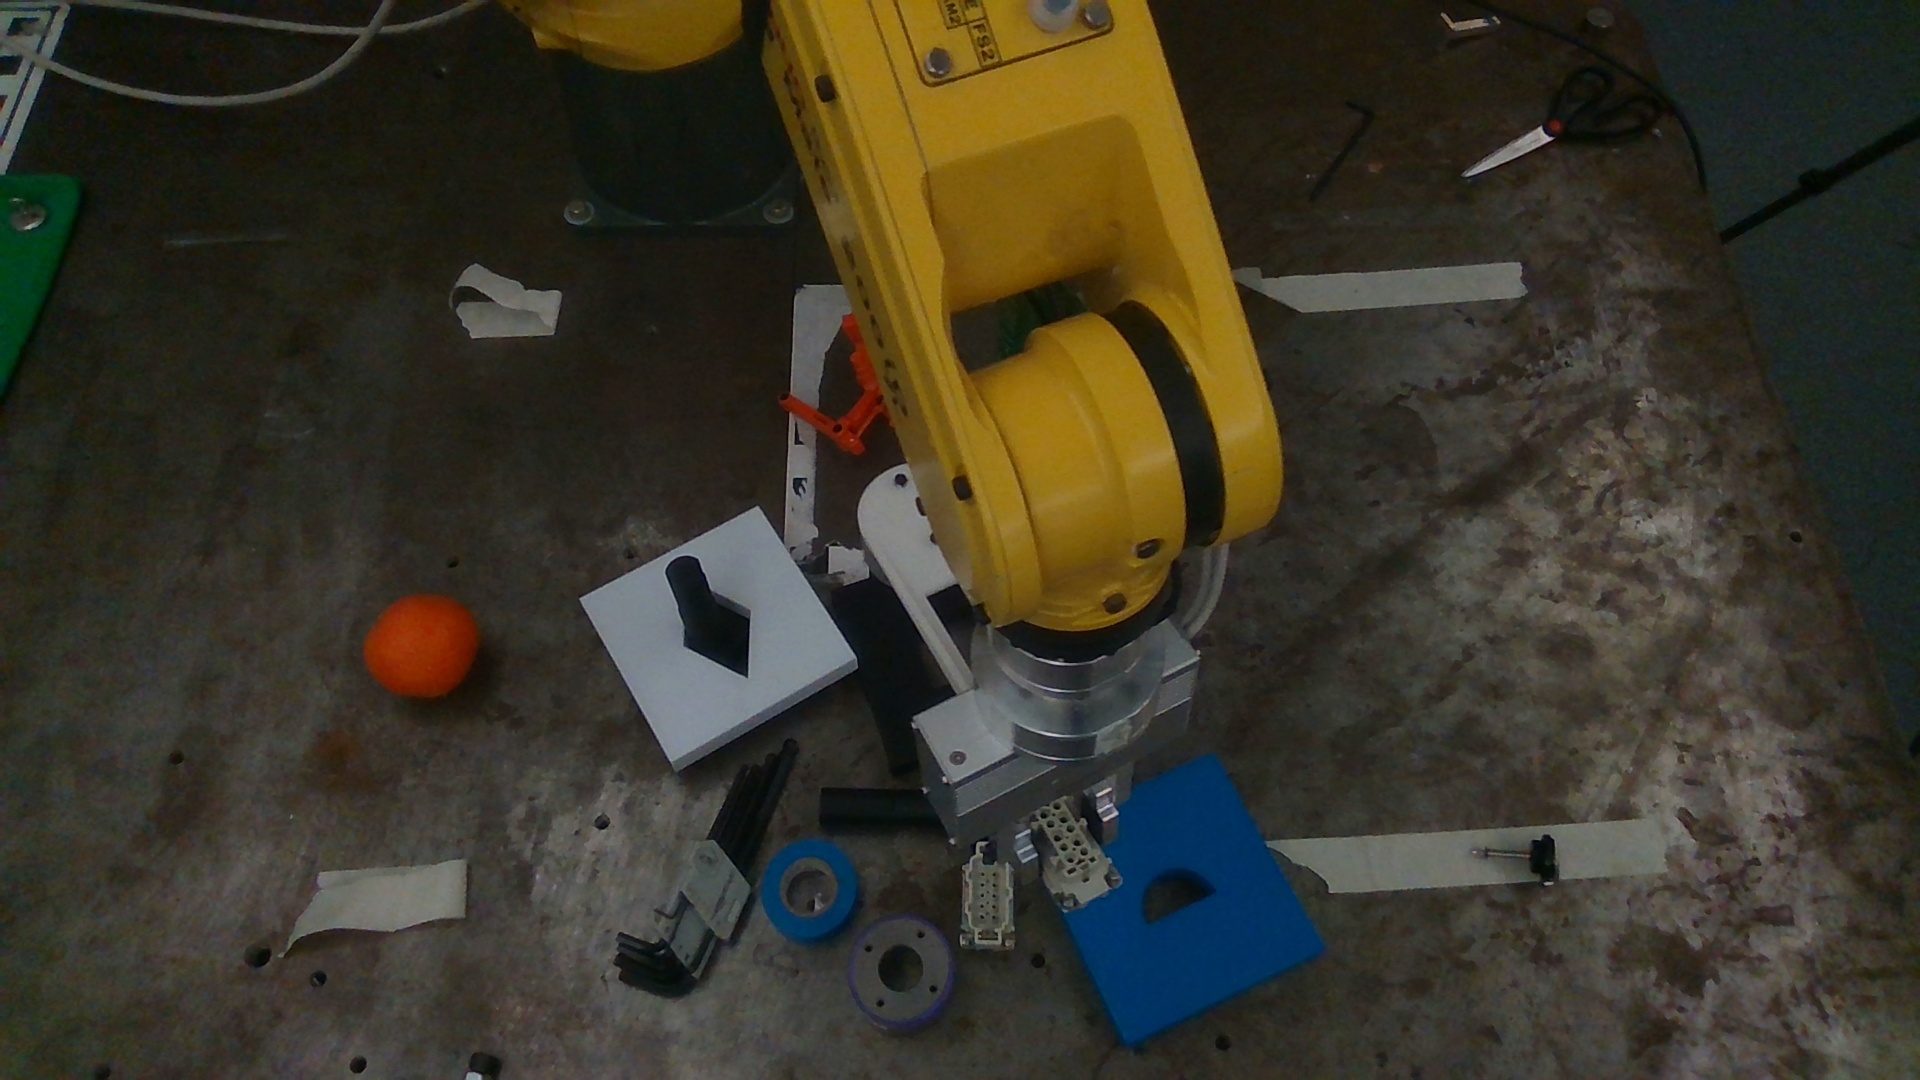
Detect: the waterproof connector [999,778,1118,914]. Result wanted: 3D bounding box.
[{"bbox_3d":[0.051,0.155,0.711,0.036,0.038,0.069,-29,56,-6],"label":"waterproof connector"}]
